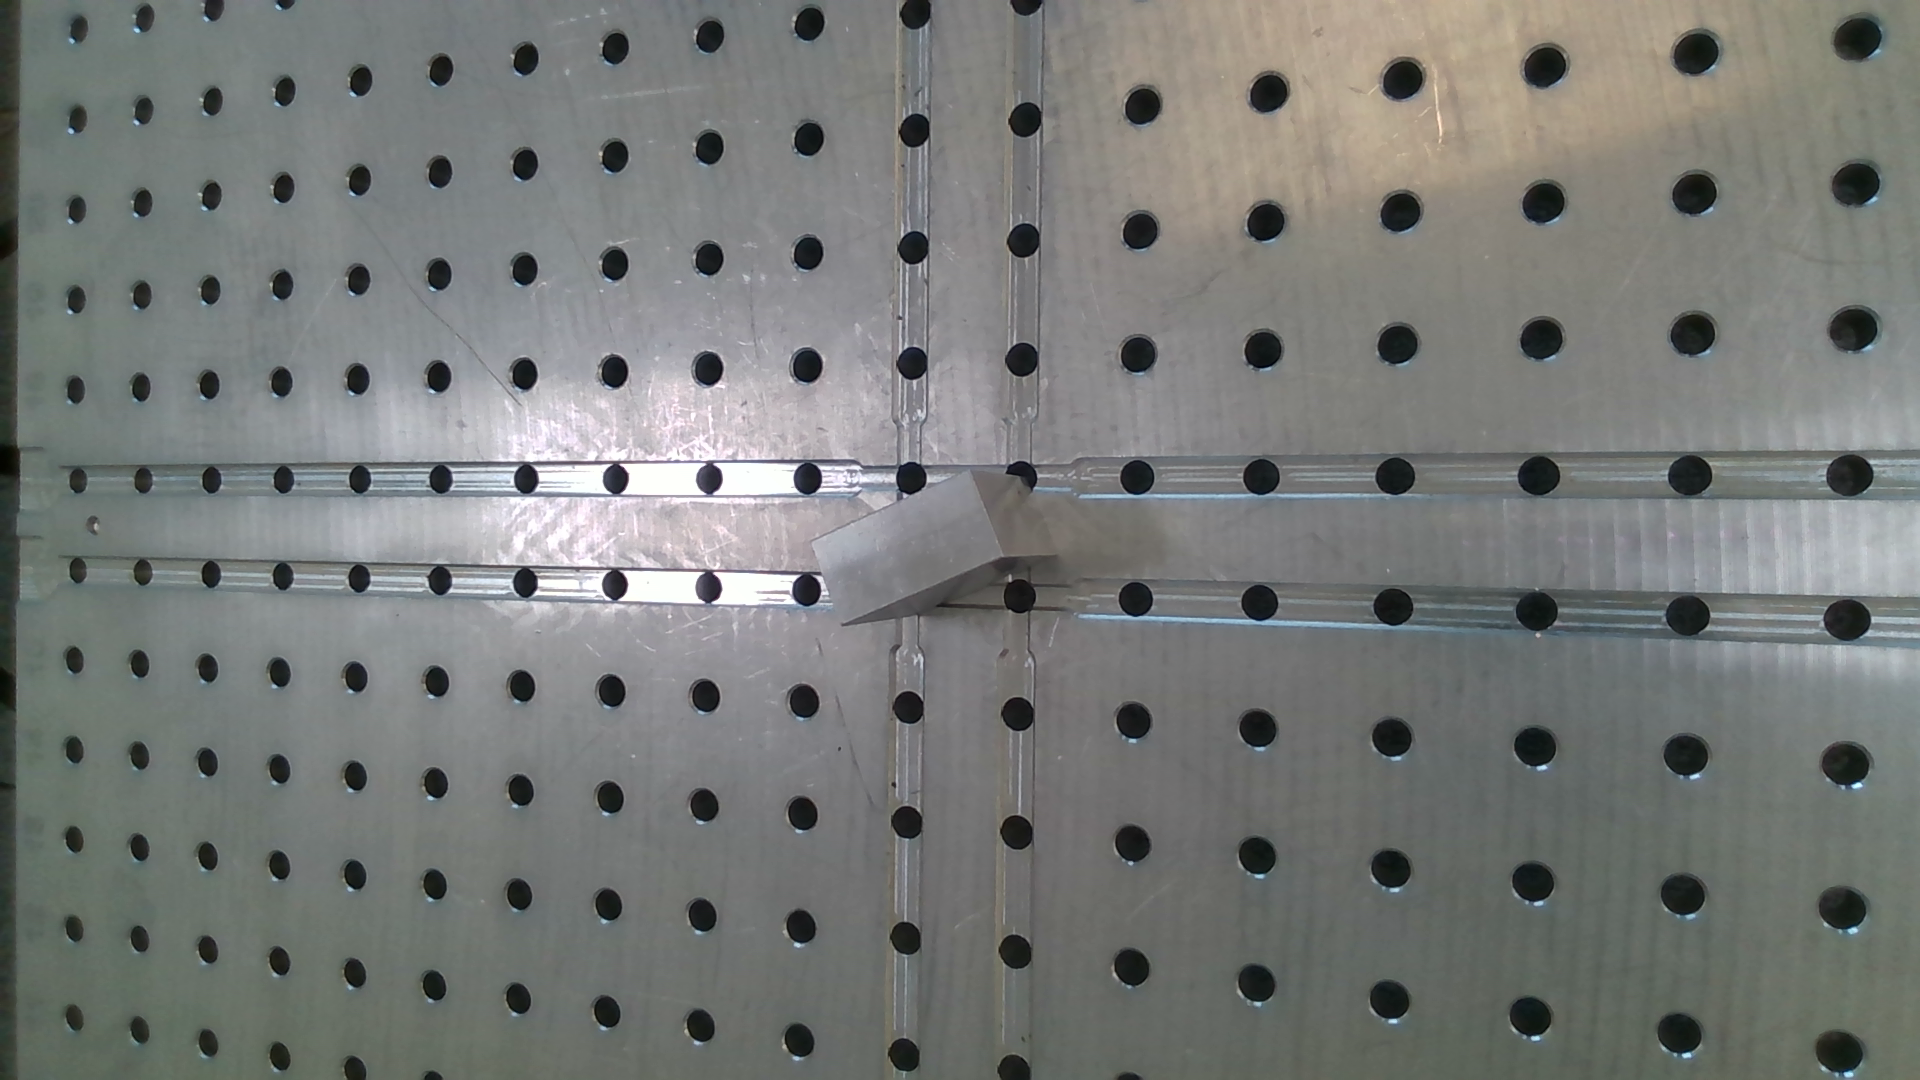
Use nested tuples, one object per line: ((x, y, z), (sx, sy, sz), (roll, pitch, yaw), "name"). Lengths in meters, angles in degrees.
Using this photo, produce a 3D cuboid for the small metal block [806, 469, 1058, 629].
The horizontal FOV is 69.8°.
((-0.007, 0.003, 0.385), (0.050, 0.050, 0.025), (-24, 82, 19), "small metal block")
